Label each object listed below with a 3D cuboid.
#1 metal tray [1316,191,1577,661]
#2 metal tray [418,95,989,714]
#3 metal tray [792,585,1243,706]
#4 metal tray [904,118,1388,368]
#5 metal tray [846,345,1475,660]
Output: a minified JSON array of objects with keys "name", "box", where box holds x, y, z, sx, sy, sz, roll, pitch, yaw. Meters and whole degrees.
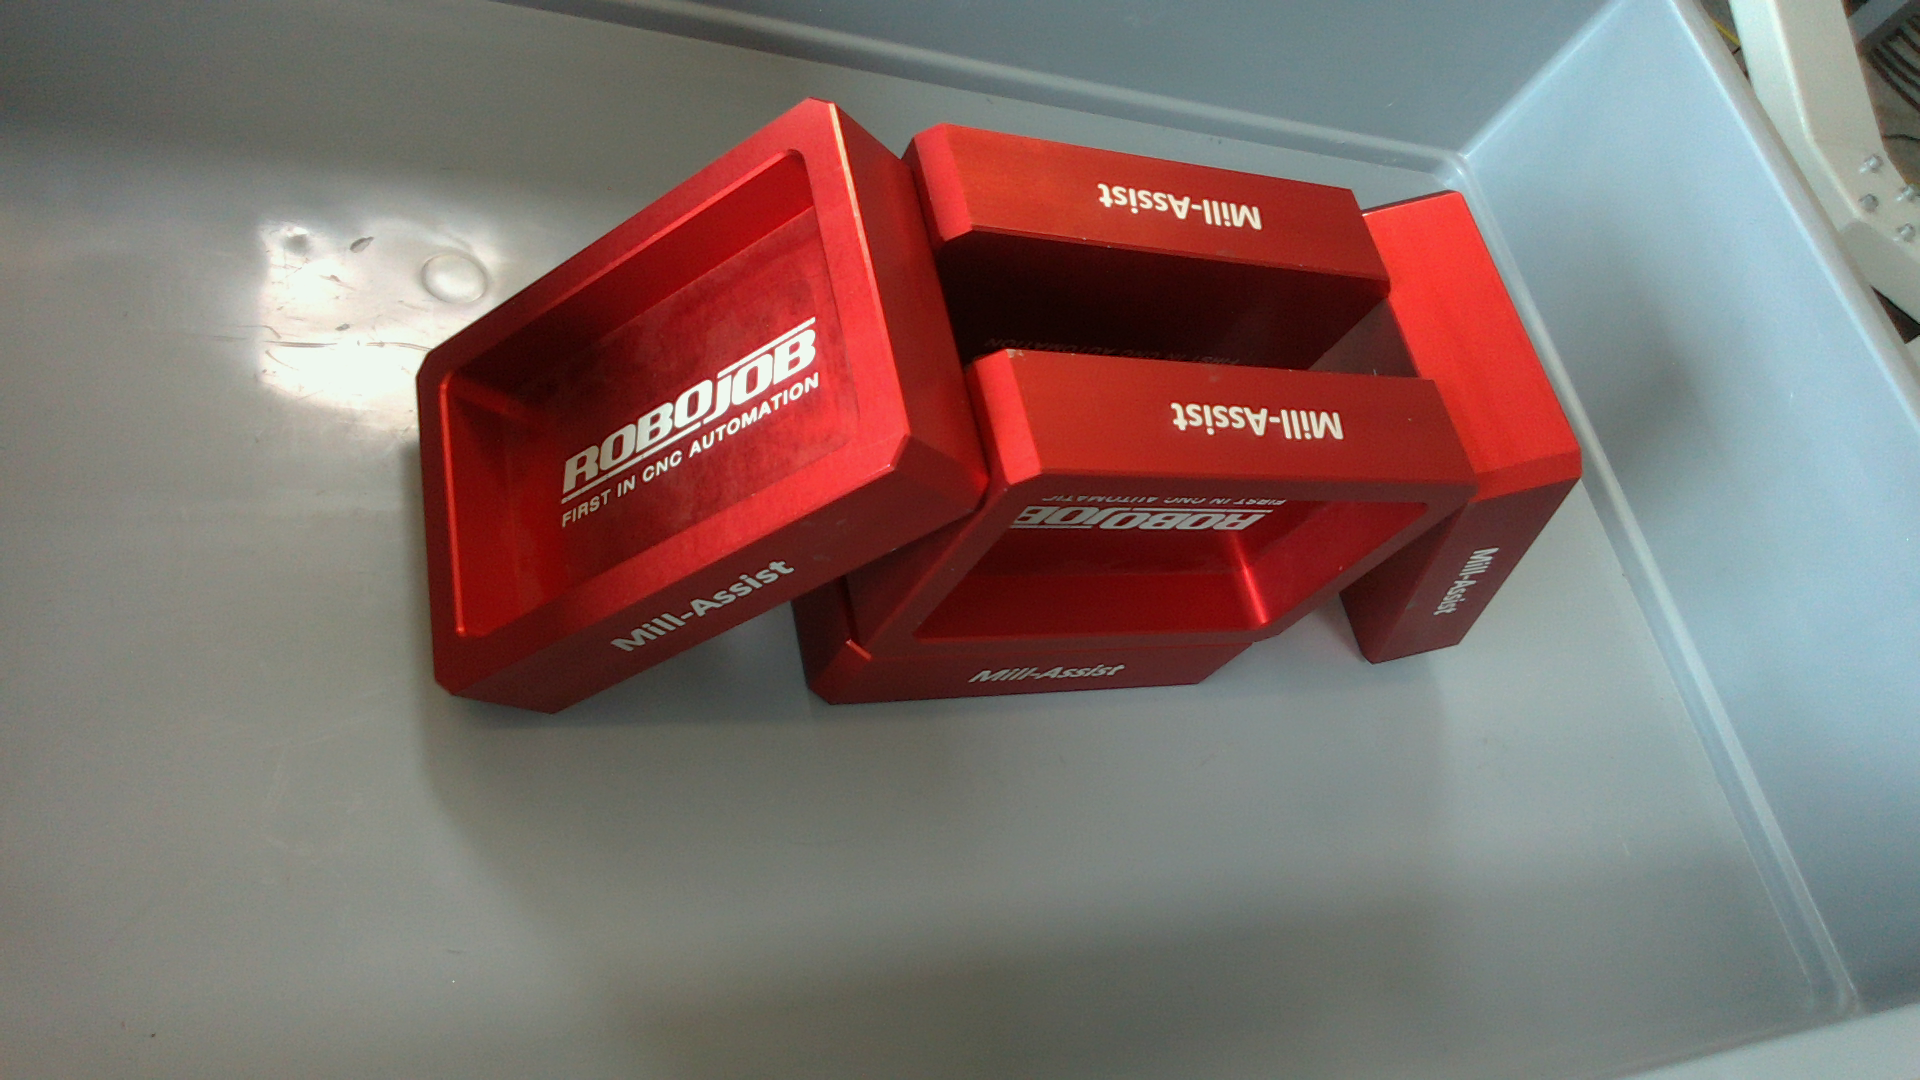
[{"name":"metal tray","box":[0.132,-0.028,0.410,0.030,0.130,0.090,-13,65,-1]},{"name":"metal tray","box":[-0.063,-0.026,0.305,0.030,0.130,0.090,26,45,-54]},{"name":"metal tray","box":[0.014,-0.003,0.395,0.130,0.030,0.090,0,62,-29]},{"name":"metal tray","box":[0.034,-0.059,0.361,0.130,0.090,0.030,0,61,-28]},{"name":"metal tray","box":[0.047,-0.005,0.336,0.130,0.090,0.030,0,61,-29]}]
